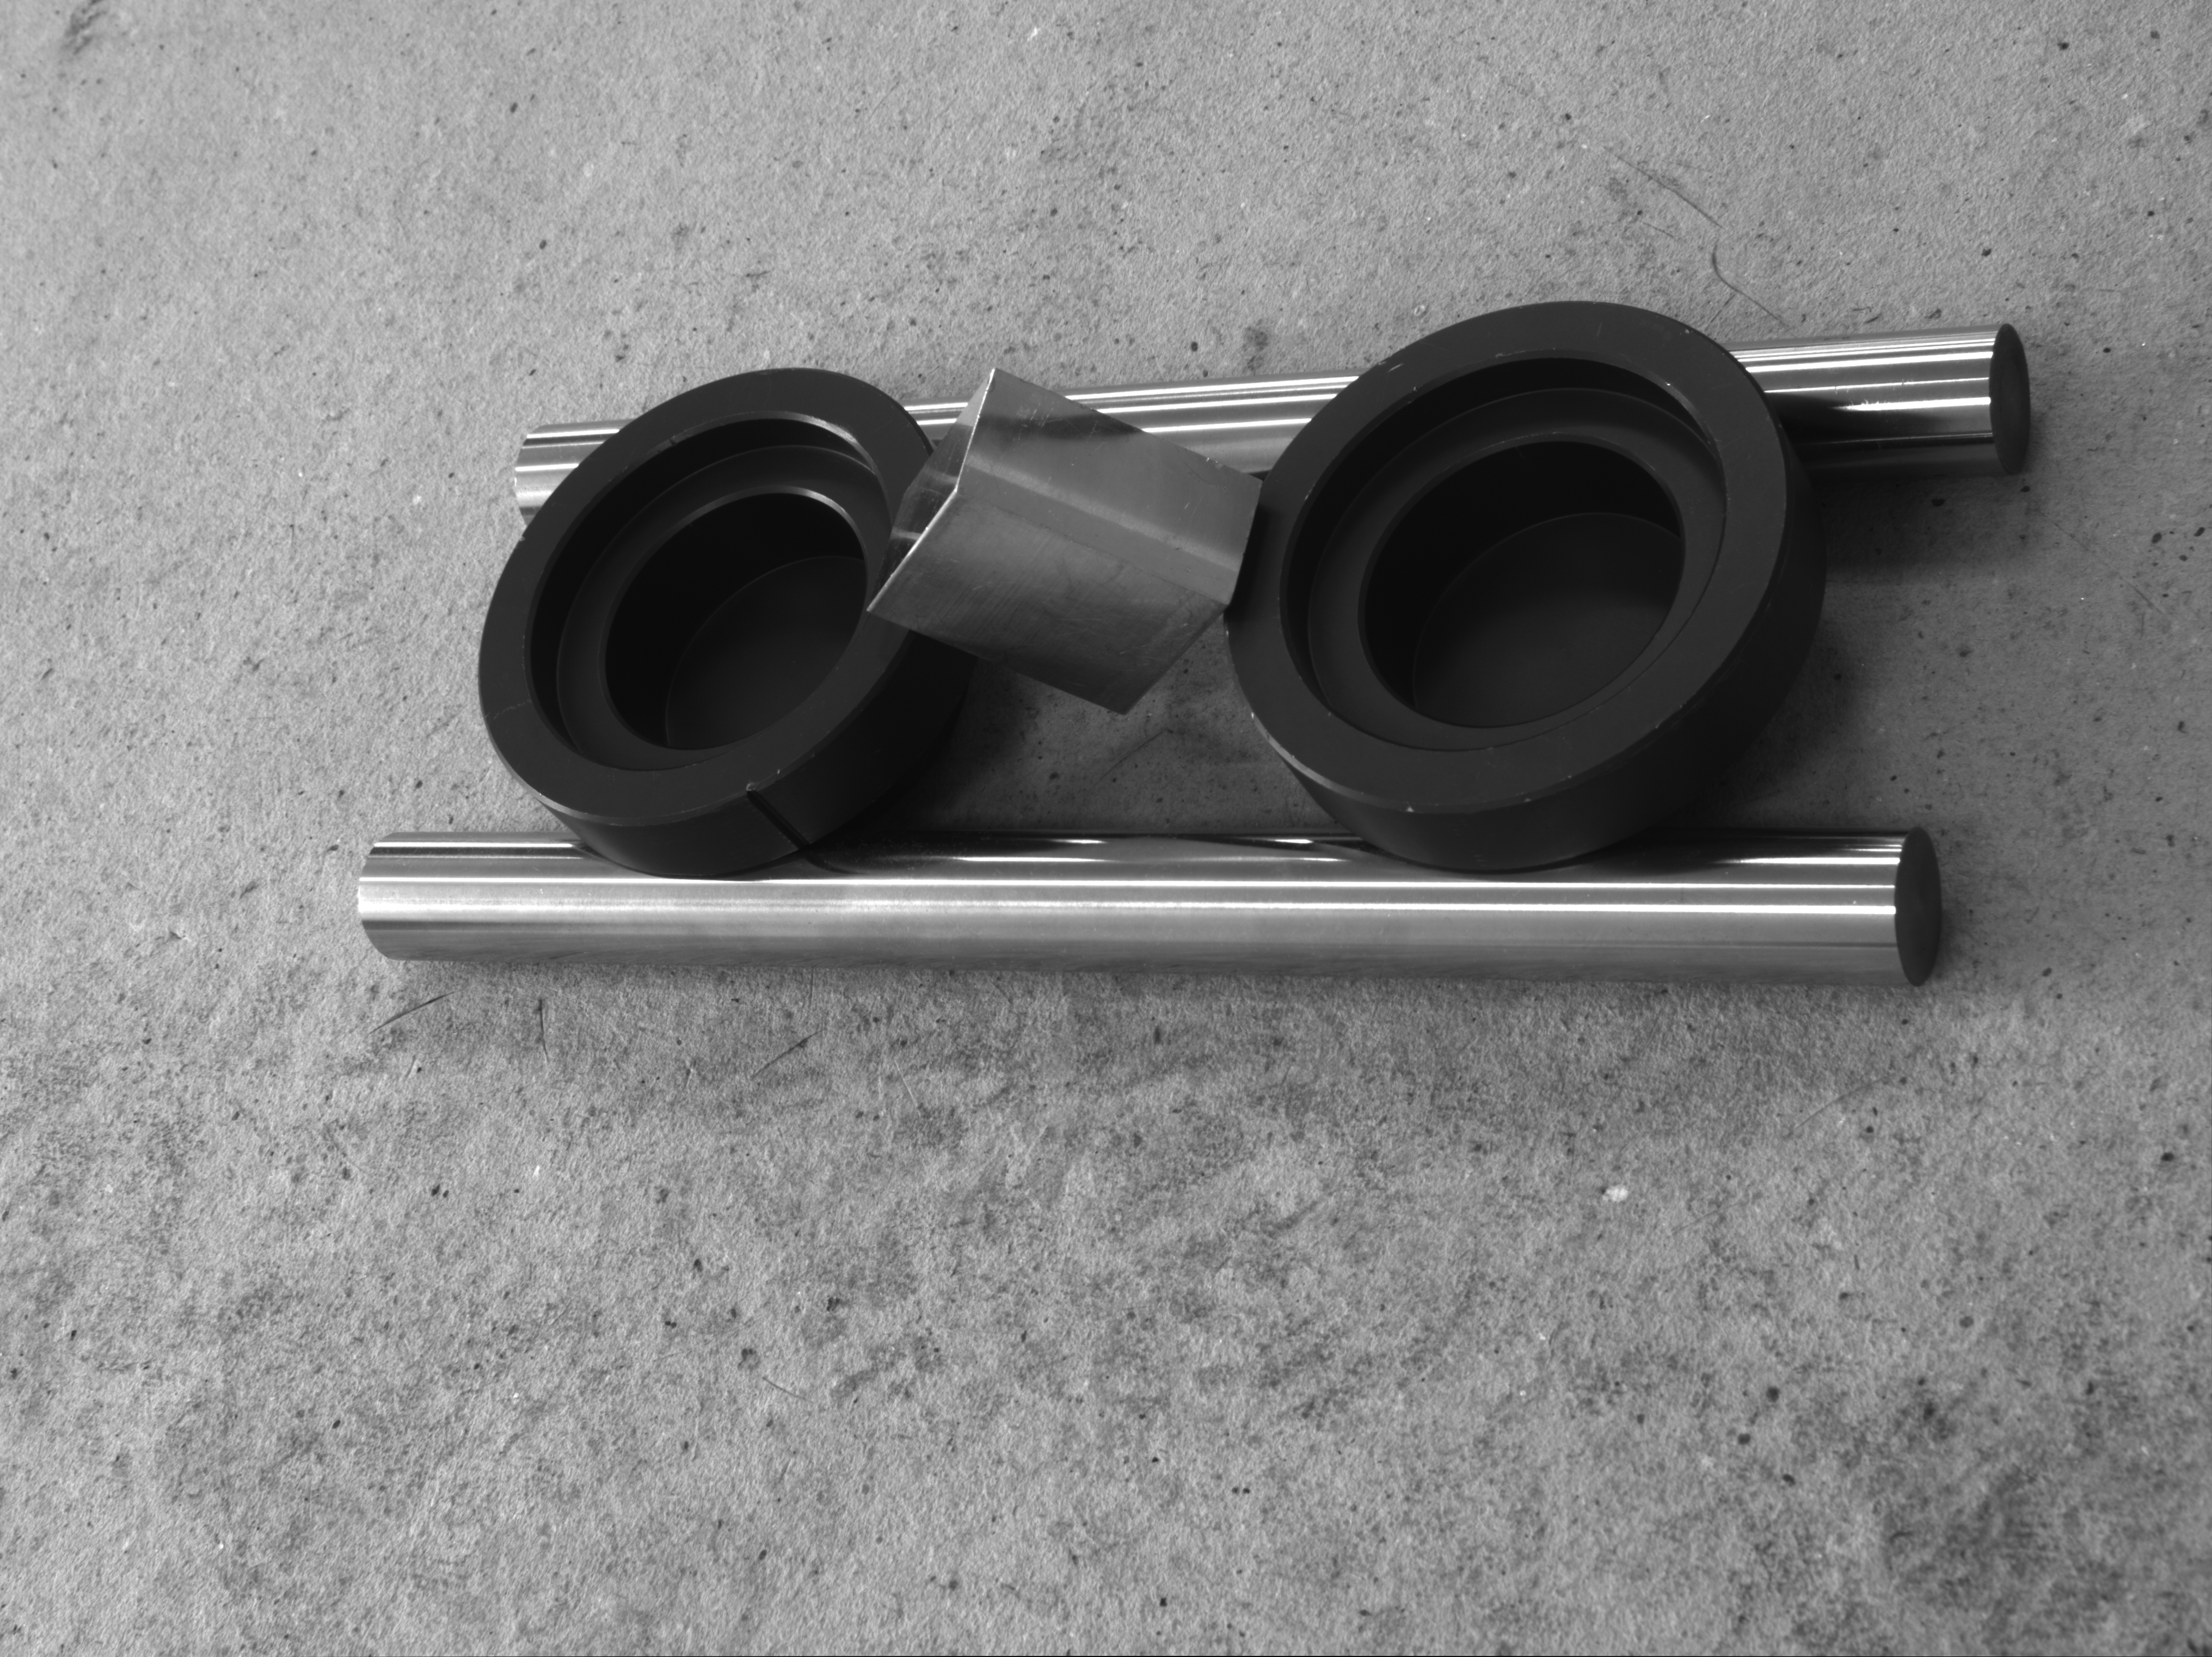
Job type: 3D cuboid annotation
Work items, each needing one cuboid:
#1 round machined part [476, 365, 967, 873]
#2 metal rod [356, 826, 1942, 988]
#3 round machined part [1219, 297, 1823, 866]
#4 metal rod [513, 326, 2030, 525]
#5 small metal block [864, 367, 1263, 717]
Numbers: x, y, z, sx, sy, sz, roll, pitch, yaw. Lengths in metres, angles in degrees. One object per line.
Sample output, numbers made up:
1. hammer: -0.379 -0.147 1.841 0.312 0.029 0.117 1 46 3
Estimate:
1. round machined part: -0.065 -0.035 0.686 0.098 0.042 0.098 -14 56 21
2. metal rod: -0.005 0.013 0.641 0.299 0.025 0.025 0 61 28
3. round machined part: 0.072 -0.036 0.612 0.098 0.042 0.098 -14 56 21
4. metal rod: 0.018 -0.070 0.679 0.299 0.025 0.025 0 61 28
5. small metal block: -0.008 -0.048 0.630 0.050 0.050 0.025 137 152 -61
